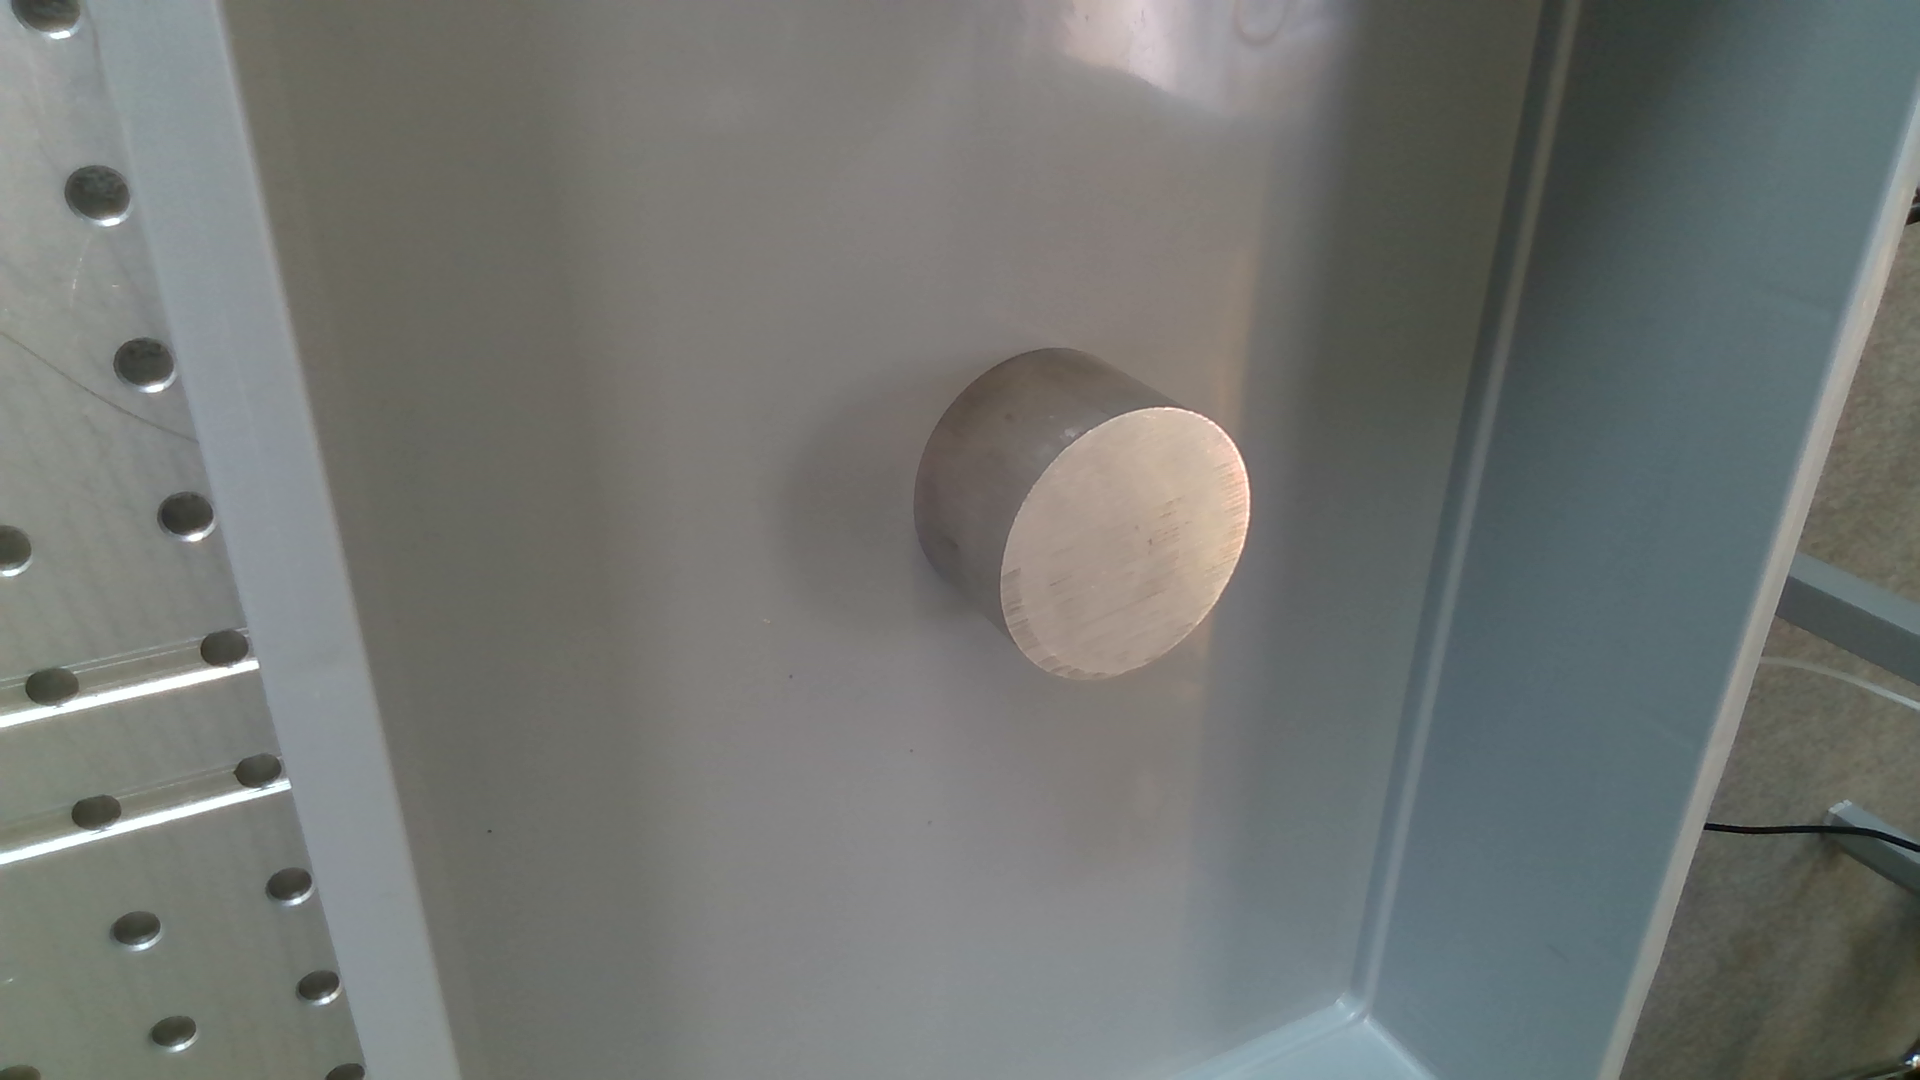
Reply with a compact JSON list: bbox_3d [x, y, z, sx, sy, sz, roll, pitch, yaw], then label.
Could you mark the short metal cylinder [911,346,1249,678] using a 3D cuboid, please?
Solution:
[{"bbox_3d":[0.033,-0.009,0.386,0.080,0.050,0.080,-14,122,-25],"label":"short metal cylinder"}]
